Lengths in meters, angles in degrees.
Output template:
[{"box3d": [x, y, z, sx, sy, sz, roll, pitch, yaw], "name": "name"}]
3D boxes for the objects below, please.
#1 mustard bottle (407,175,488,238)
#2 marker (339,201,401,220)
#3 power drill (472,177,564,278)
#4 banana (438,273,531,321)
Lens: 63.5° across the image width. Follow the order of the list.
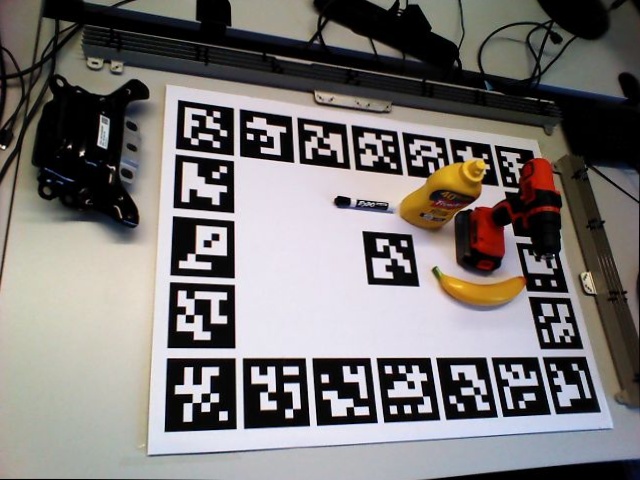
[{"box3d": [0.241, -0.064, 0.921, 0.096, 0.193, 0.058, 17, 65, -14], "name": "mustard bottle"}, {"box3d": [0.093, -0.055, 0.962, 0.121, 0.020, 0.019, 8, 68, -17], "name": "marker"}, {"box3d": [0.347, 0.000, 0.915, 0.057, 0.188, 0.183, 19, 62, -14], "name": "power drill"}, {"box3d": [0.309, 0.115, 0.965, 0.197, 0.039, 0.074, 13, 68, -13], "name": "banana"}]
